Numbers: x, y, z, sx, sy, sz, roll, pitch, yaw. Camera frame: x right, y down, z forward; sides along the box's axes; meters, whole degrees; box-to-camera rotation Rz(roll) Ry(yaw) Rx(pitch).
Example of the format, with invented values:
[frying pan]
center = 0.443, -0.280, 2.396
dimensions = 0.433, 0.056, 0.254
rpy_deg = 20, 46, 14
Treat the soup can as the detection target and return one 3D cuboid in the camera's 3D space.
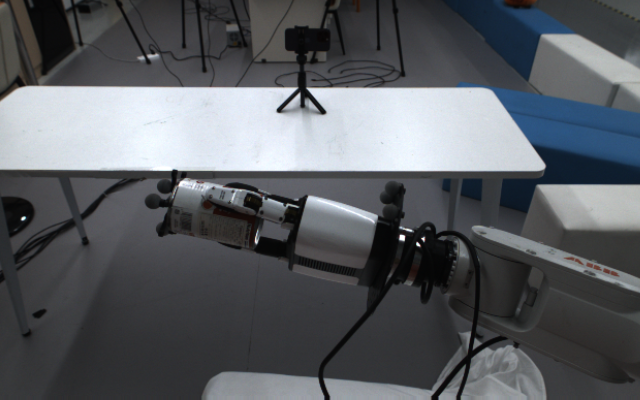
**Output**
[soup can]
center = -0.116, 0.016, 0.572
dimensions = 0.101, 0.067, 0.067
rpy_deg = 12, 35, -2
